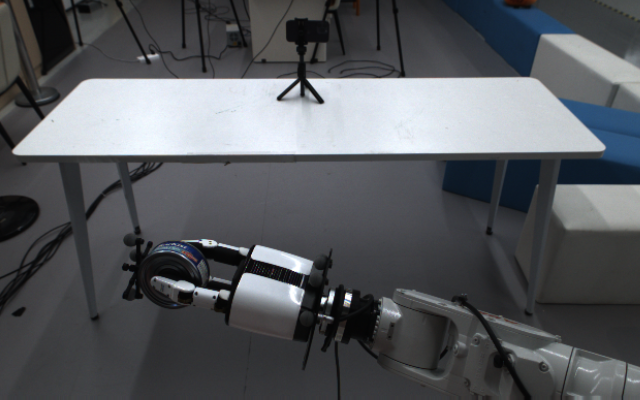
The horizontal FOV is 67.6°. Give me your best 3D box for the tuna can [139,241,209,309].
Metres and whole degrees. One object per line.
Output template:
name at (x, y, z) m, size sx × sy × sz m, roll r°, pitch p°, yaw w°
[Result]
tuna can at (-0.187, 0.100, 0.625) m, size 0.085 × 0.085 × 0.034 m, roll 4°, pitch 19°, yaw 3°
